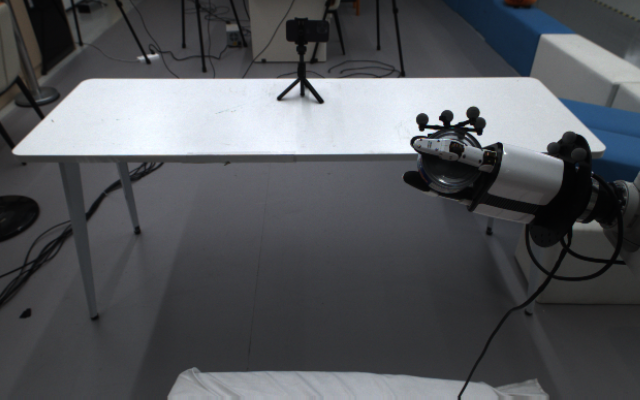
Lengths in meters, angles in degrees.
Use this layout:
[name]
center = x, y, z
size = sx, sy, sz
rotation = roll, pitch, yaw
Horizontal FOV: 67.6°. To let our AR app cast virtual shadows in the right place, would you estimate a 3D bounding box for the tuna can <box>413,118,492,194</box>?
[tuna can]
center = 0.178, -0.056, 0.664
size = 0.085, 0.034, 0.085
rotation = 0, 73, 1
